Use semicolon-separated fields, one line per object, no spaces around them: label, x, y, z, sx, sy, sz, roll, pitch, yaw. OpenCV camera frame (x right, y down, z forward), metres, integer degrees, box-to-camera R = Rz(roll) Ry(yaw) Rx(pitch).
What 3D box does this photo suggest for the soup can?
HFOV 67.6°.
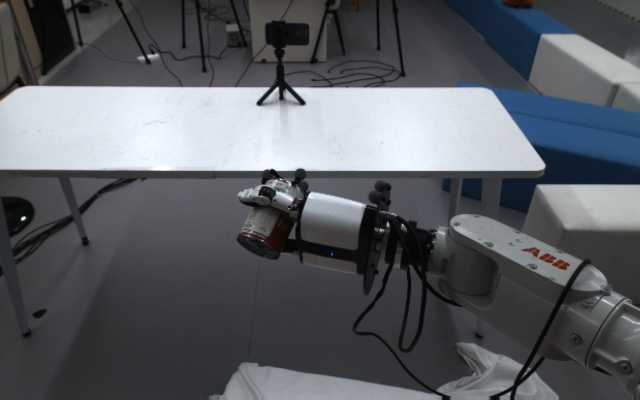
soup can;-0.069;0.027;0.708;0.067;0.067;0.101;15;63;18
